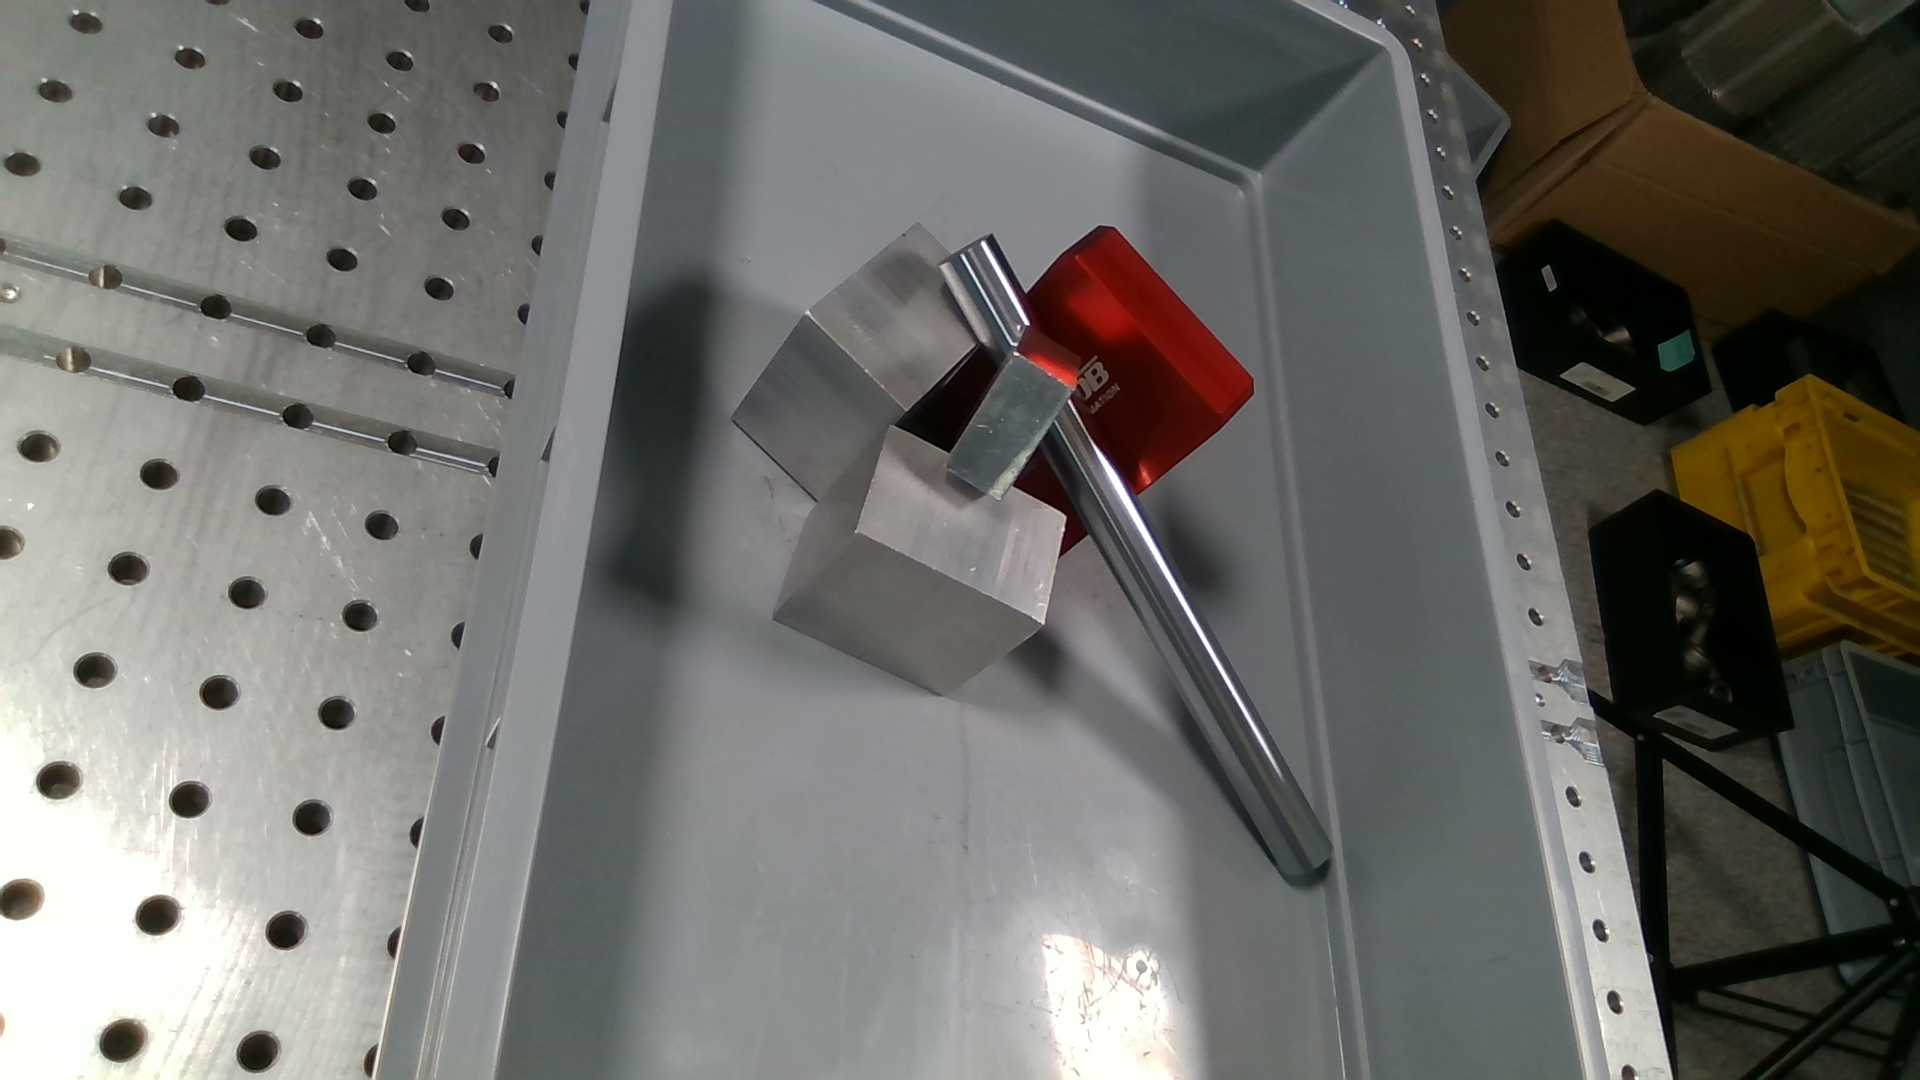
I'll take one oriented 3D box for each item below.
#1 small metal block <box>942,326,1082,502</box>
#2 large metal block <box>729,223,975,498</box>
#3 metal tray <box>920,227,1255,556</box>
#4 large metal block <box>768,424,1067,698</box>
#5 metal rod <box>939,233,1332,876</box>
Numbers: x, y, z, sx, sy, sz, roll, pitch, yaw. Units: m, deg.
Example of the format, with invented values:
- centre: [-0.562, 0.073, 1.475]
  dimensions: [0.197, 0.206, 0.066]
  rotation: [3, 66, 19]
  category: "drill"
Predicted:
- centre: [0.020, -0.048, 0.511]
  dimensions: [0.025, 0.050, 0.050]
  rotation: [31, 21, -4]
  category: "small metal block"
- centre: [-0.038, -0.071, 0.566]
  dimensions: [0.050, 0.080, 0.080]
  rotation: [45, 51, -3]
  category: "large metal block"
- centre: [0.049, -0.057, 0.577]
  dimensions: [0.090, 0.130, 0.030]
  rotation: [47, 50, 0]
  category: "metal tray"
- centre: [-0.017, 0.011, 0.534]
  dimensions: [0.080, 0.080, 0.050]
  rotation: [26, 54, -17]
  category: "large metal block"
- centre: [0.077, 0.013, 0.567]
  dimensions: [0.025, 0.025, 0.300]
  rotation: [-42, 108, -39]
  category: "metal rod"
